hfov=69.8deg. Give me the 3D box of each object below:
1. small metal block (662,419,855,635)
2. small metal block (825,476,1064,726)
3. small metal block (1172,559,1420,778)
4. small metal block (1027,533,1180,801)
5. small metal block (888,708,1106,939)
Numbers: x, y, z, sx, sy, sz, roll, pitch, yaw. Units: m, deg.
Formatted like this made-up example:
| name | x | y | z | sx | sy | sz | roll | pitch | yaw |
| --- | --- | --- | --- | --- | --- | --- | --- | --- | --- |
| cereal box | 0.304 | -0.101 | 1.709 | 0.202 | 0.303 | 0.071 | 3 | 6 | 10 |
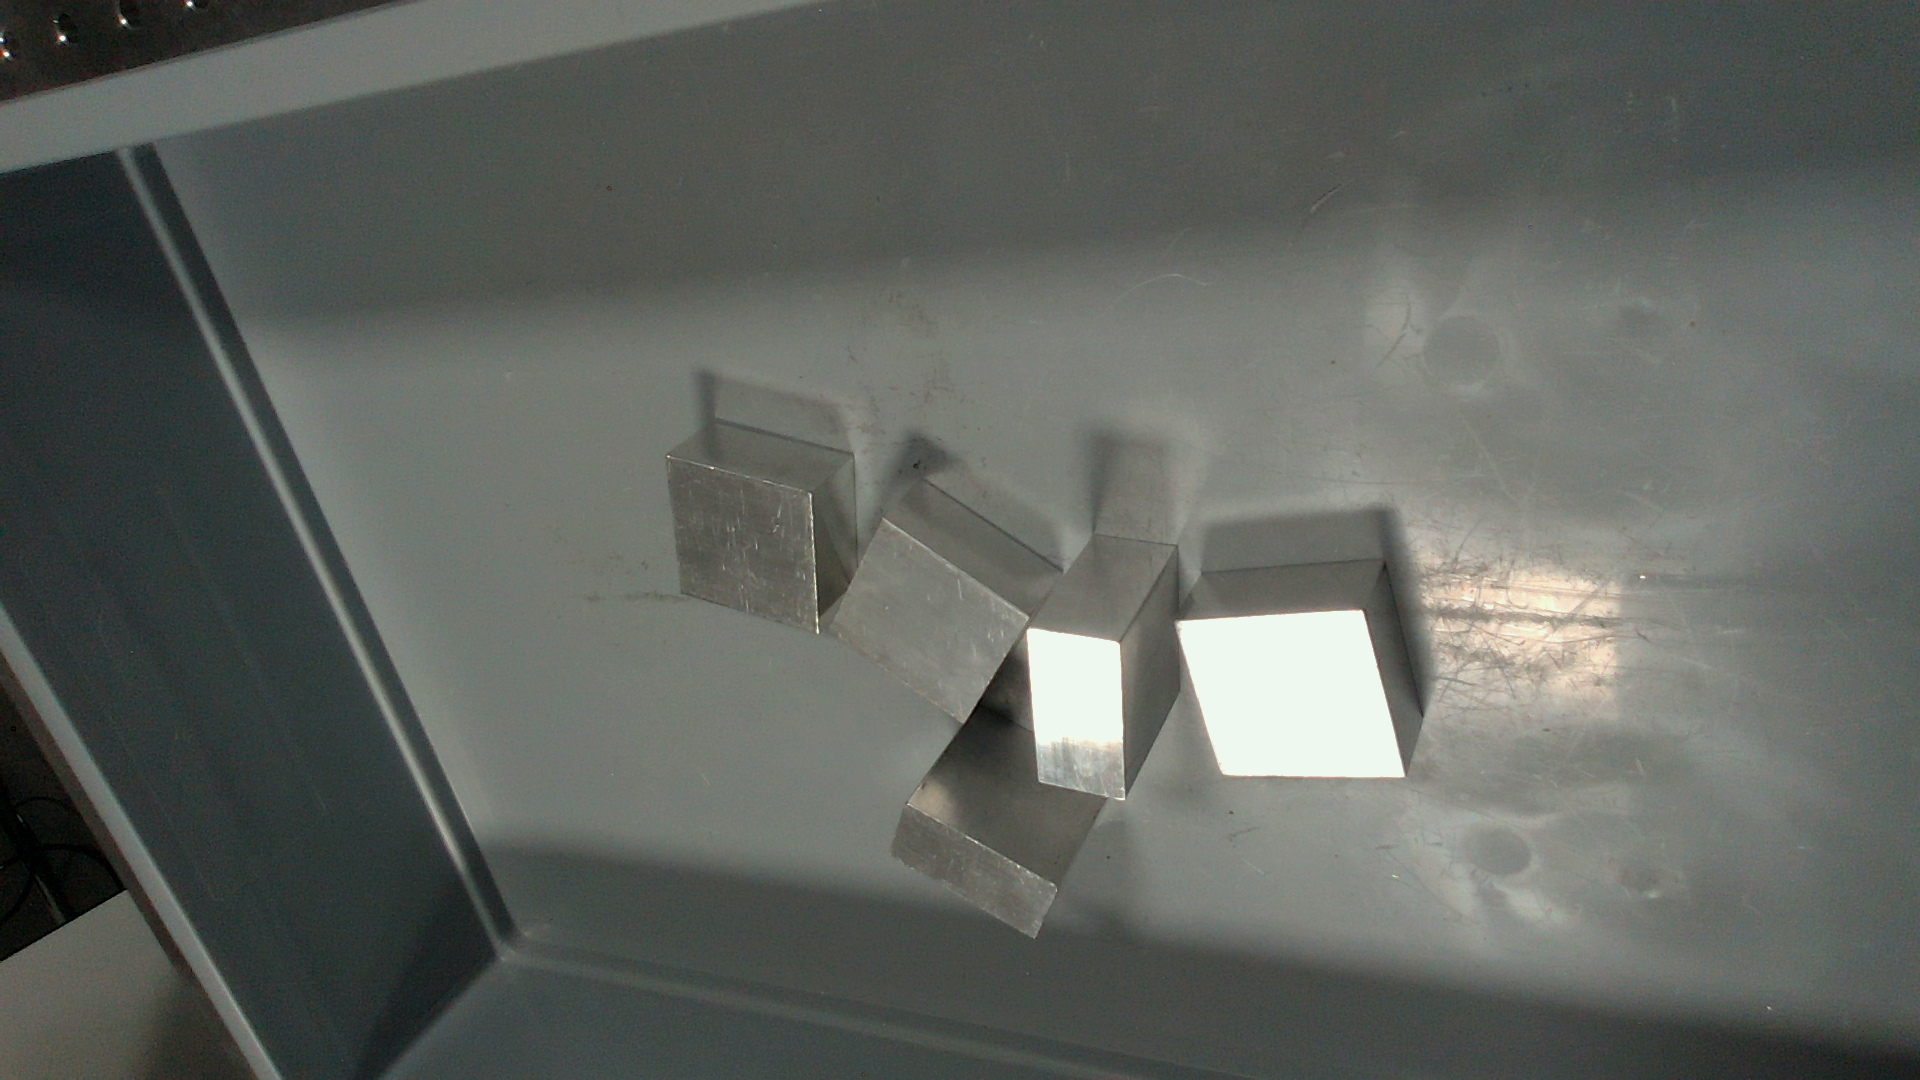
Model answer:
| name | x | y | z | sx | sy | sz | roll | pitch | yaw |
| --- | --- | --- | --- | --- | --- | --- | --- | --- | --- |
| small metal block | -0.060 | -0.004 | 0.420 | 0.050 | 0.025 | 0.050 | 14 | 124 | 20 |
| small metal block | -0.005 | 0.018 | 0.404 | 0.050 | 0.025 | 0.050 | 33 | 129 | 6 |
| small metal block | 0.090 | 0.035 | 0.364 | 0.050 | 0.025 | 0.050 | -6 | 116 | 31 |
| small metal block | 0.041 | 0.033 | 0.374 | 0.025 | 0.050 | 0.050 | 9 | 122 | 23 |
| small metal block | 0.014 | 0.084 | 0.419 | 0.050 | 0.050 | 0.025 | 27 | 129 | 11 |
